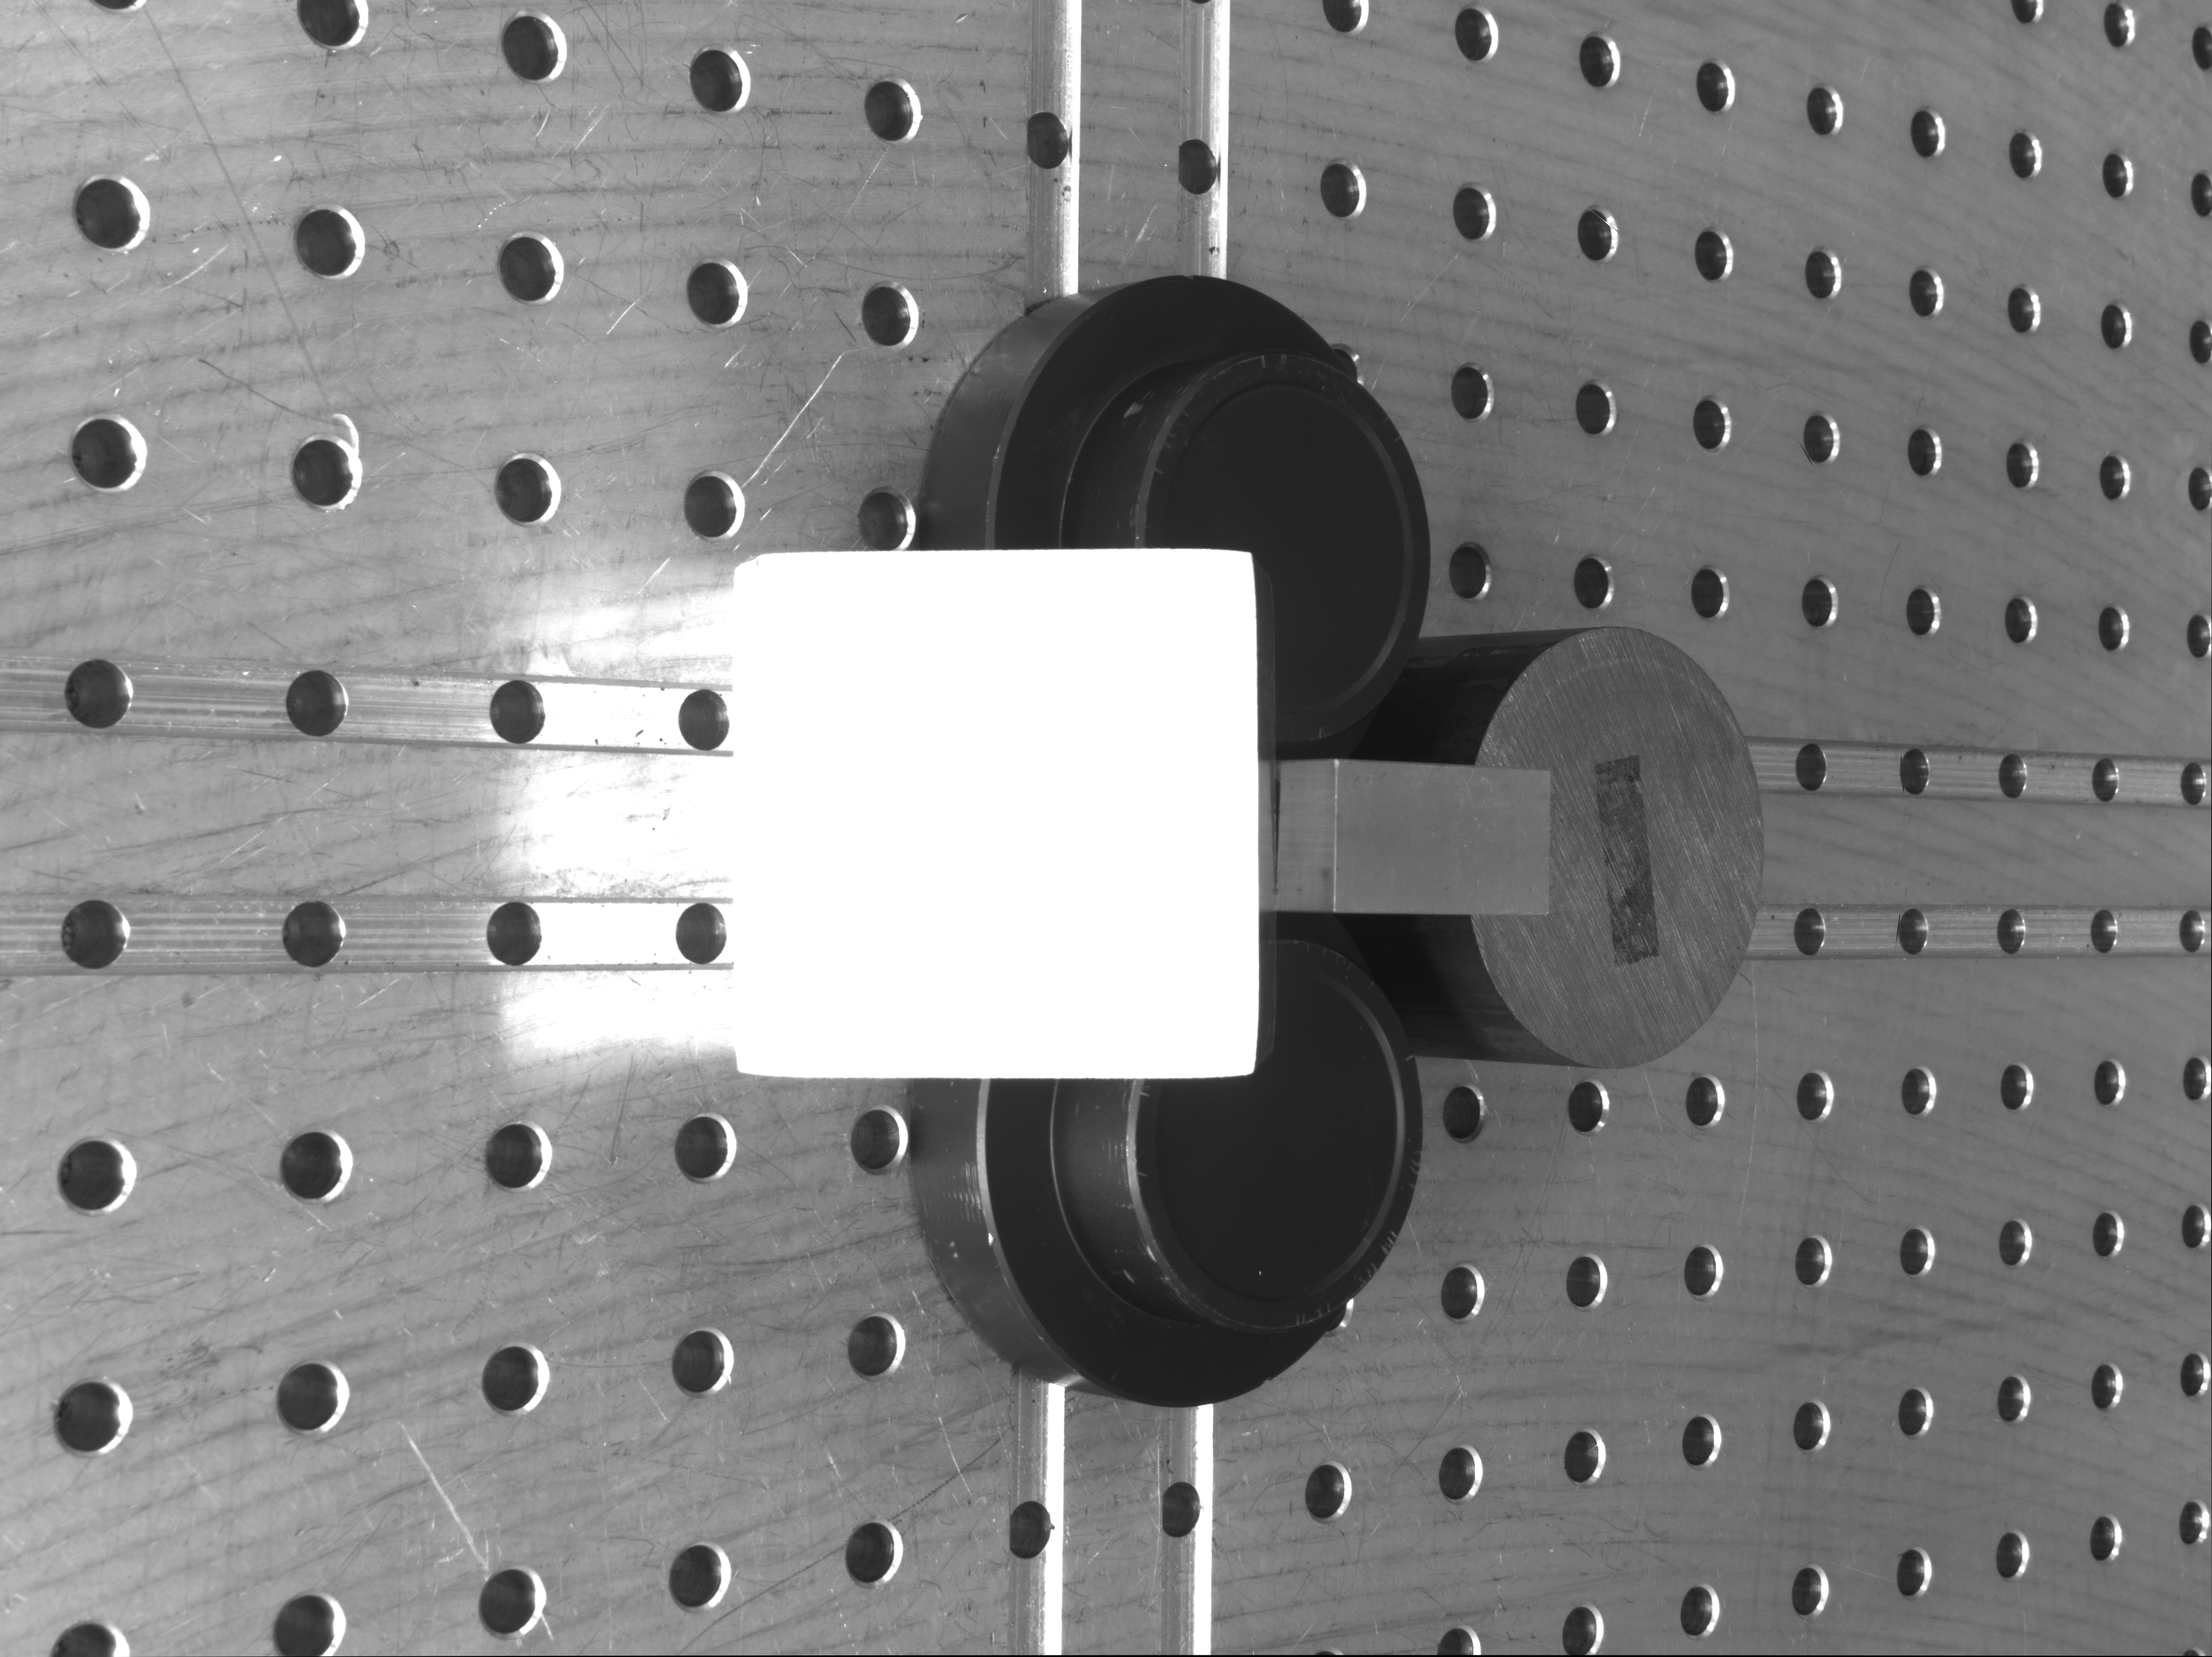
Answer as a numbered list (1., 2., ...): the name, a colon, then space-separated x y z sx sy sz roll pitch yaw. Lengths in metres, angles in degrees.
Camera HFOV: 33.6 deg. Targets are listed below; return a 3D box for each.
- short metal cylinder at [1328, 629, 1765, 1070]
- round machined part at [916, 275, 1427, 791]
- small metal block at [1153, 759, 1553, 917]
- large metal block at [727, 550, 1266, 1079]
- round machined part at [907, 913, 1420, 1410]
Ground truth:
1. short metal cylinder: 0.078 0.004 0.686 0.080 0.050 0.080 0 90 -40
2. round machined part: 0.018 -0.048 0.643 0.098 0.042 0.098 0 90 -40
3. small metal block: 0.041 0.002 0.628 0.050 0.050 0.025 2 89 -40
4. large metal block: -0.015 -0.002 0.583 0.050 0.080 0.080 -3 93 -84
5. round machined part: 0.017 0.053 0.642 0.098 0.042 0.098 0 90 -40
